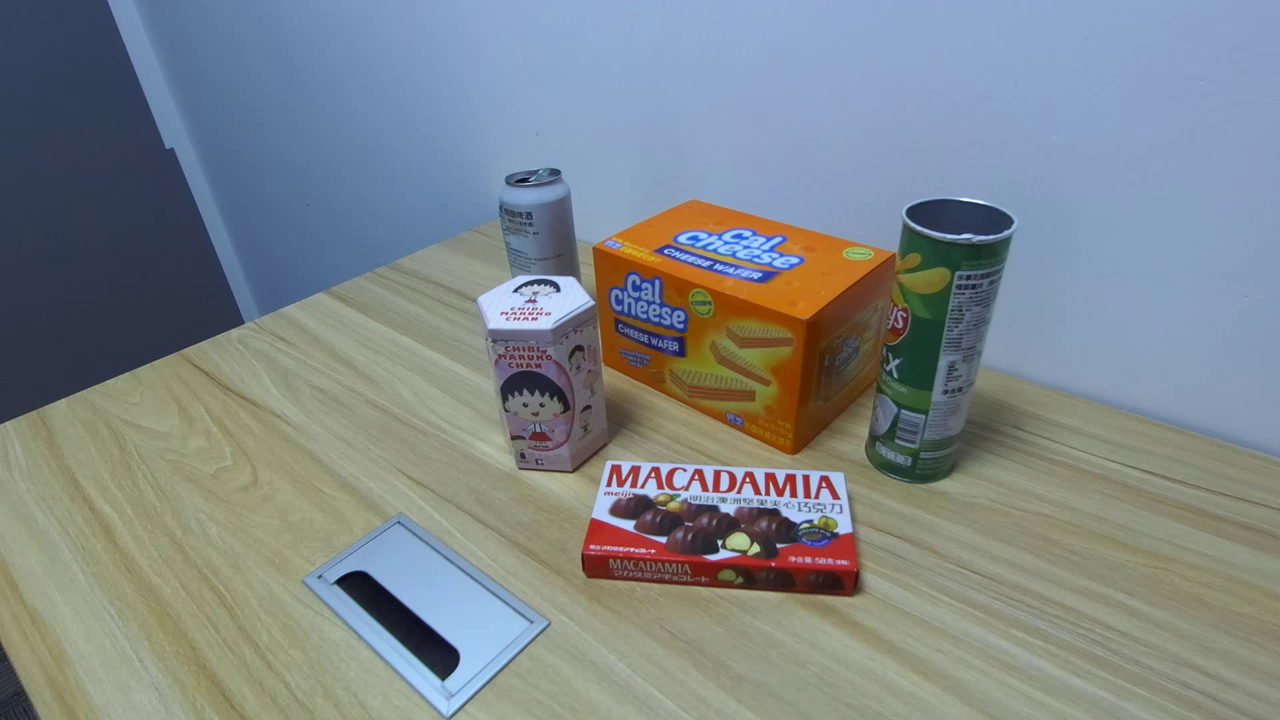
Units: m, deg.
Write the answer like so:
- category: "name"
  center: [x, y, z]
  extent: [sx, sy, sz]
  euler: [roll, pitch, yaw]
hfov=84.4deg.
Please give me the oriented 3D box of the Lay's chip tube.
- category: "Lay's chip tube"
  center: [0.209, -0.009, 0.503]
  extent: [0.071, 0.203, 0.071]
  euler: [-3, 33, 2]

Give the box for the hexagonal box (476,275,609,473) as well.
- category: "hexagonal box"
  center: [-0.073, 0.012, 0.558]
  extent: [0.091, 0.136, 0.084]
  euler: [2, 33, 9]

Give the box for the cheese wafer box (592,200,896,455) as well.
- category: "cheese wafer box"
  center: [0.089, -0.041, 0.635]
  extent: [0.221, 0.129, 0.149]
  euler: [25, 42, 35]

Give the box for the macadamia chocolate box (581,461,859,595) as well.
- category: "macadamia chocolate box"
  center: [0.056, 0.114, 0.494]
  extent: [0.177, 0.027, 0.095]
  euler: [2, 33, 9]

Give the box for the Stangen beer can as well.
- category: "Stangen beer can"
  center: [-0.096, -0.106, 0.707]
  extent: [0.070, 0.173, 0.070]
  euler: [13, 35, 24]
